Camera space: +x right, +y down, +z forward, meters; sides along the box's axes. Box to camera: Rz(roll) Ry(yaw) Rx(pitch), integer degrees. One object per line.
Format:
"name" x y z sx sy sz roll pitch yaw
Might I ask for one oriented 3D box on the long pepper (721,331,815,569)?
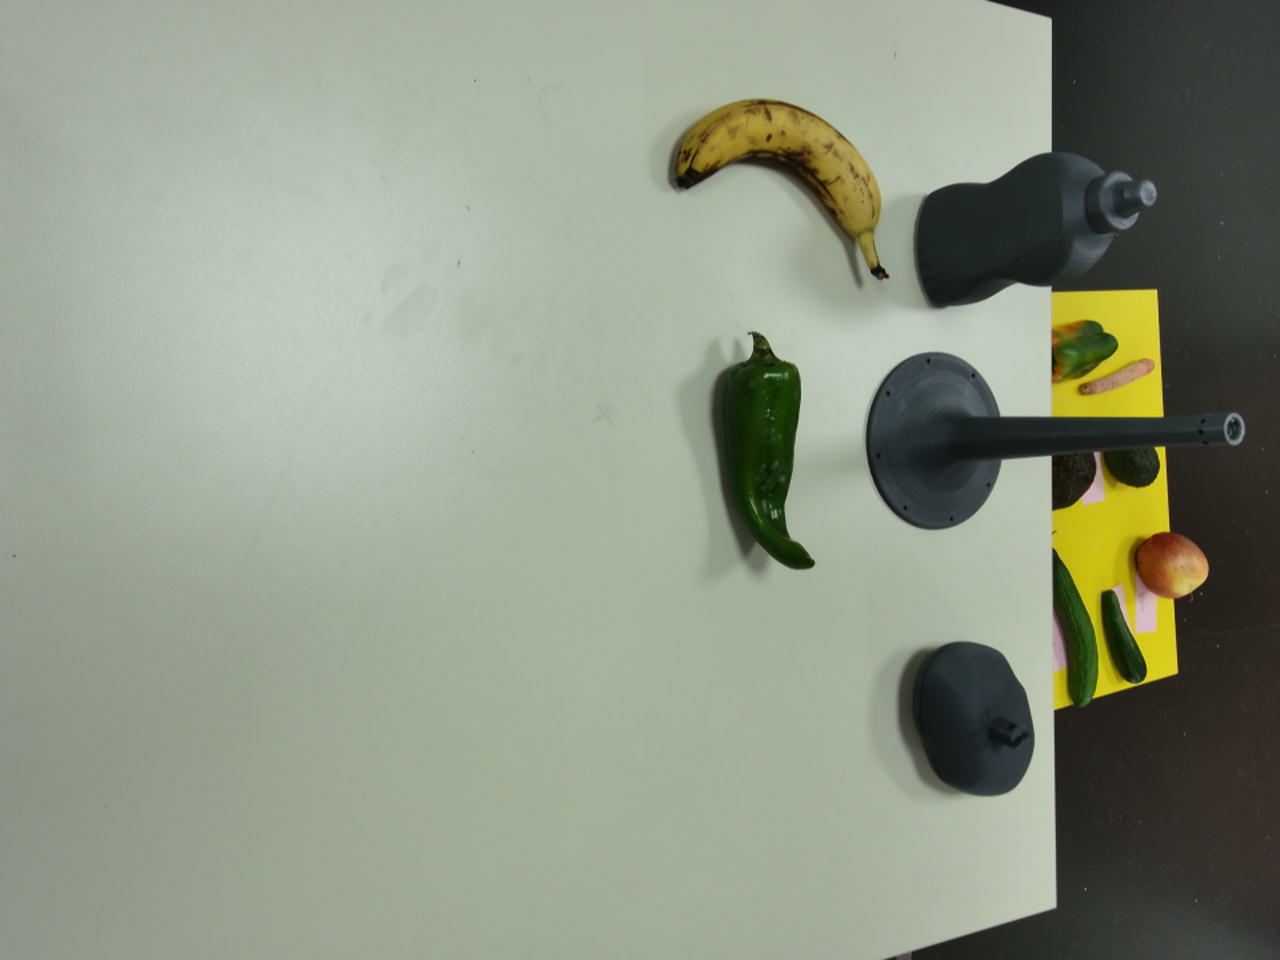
"long pepper" 0.093 -0.022 0.724 0.058 0.065 0.175 -3 92 -28
